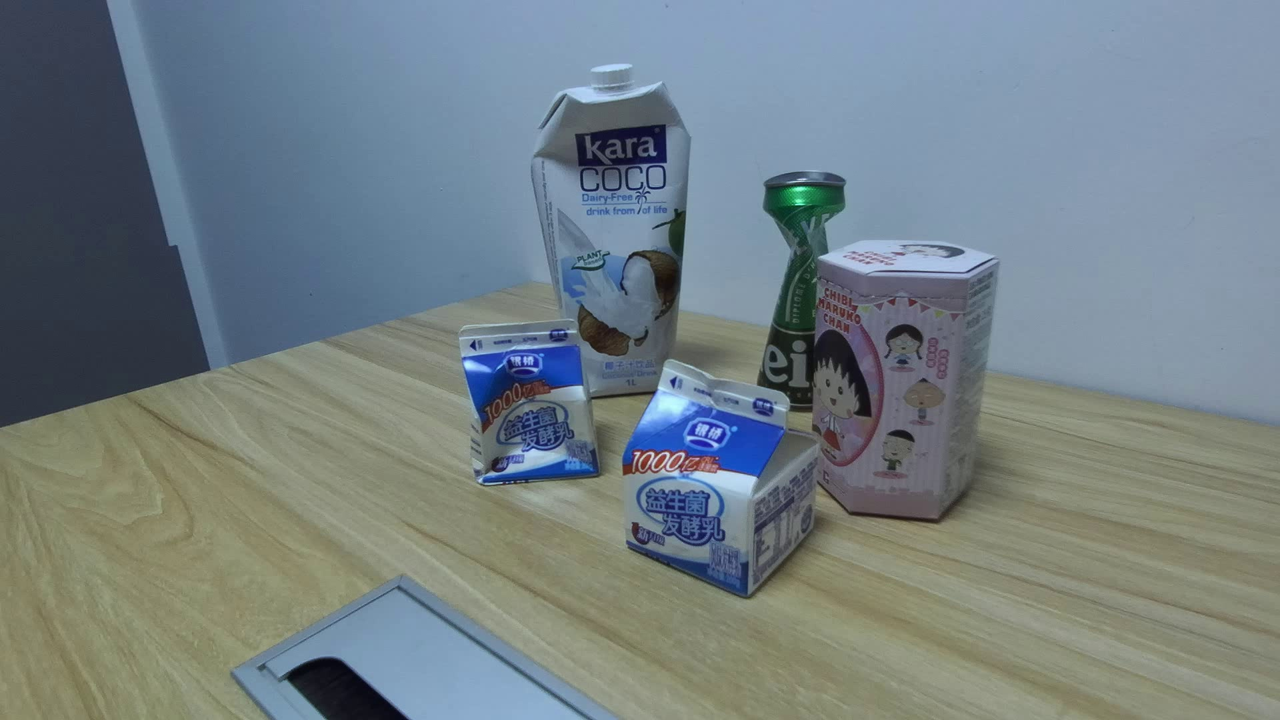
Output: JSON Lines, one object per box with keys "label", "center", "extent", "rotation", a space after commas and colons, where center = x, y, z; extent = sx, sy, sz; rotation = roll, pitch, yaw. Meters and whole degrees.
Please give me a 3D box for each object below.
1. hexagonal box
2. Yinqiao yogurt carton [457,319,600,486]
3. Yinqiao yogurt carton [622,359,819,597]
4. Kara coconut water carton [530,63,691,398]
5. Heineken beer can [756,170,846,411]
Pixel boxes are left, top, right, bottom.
{"label": "hexagonal box", "center": [0.141, 0.009, 0.389], "extent": [0.084, 0.136, 0.091], "rotation": [-8, 21, -16]}
{"label": "Yinqiao yogurt carton", "center": [-0.068, 0.020, 0.442], "extent": [0.077, 0.094, 0.071], "rotation": [-5, 25, -3]}
{"label": "Yinqiao yogurt carton", "center": [0.042, 0.049, 0.350], "extent": [0.075, 0.092, 0.074], "rotation": [14, 25, 35]}
{"label": "Kara coconut water carton", "center": [-0.019, -0.092, 0.529], "extent": [0.115, 0.238, 0.069], "rotation": [-5, 22, -7]}
{"label": "Heineken beer can", "center": [0.122, -0.051, 0.519], "extent": [0.078, 0.164, 0.065], "rotation": [-23, 29, -32]}
